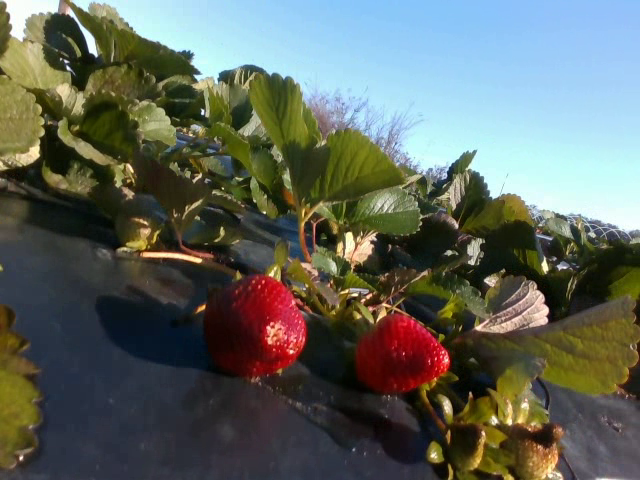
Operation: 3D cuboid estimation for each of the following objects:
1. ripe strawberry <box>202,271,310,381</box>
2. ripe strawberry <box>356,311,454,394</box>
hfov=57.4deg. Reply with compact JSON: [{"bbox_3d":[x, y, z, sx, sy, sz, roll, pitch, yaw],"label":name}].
[{"bbox_3d":[-0.025,0.035,0.230,0.050,0.045,0.050,31,-14,-10],"label":"ripe strawberry"},{"bbox_3d":[0.039,0.052,0.260,0.042,0.039,0.049,-31,17,-35],"label":"ripe strawberry"}]
